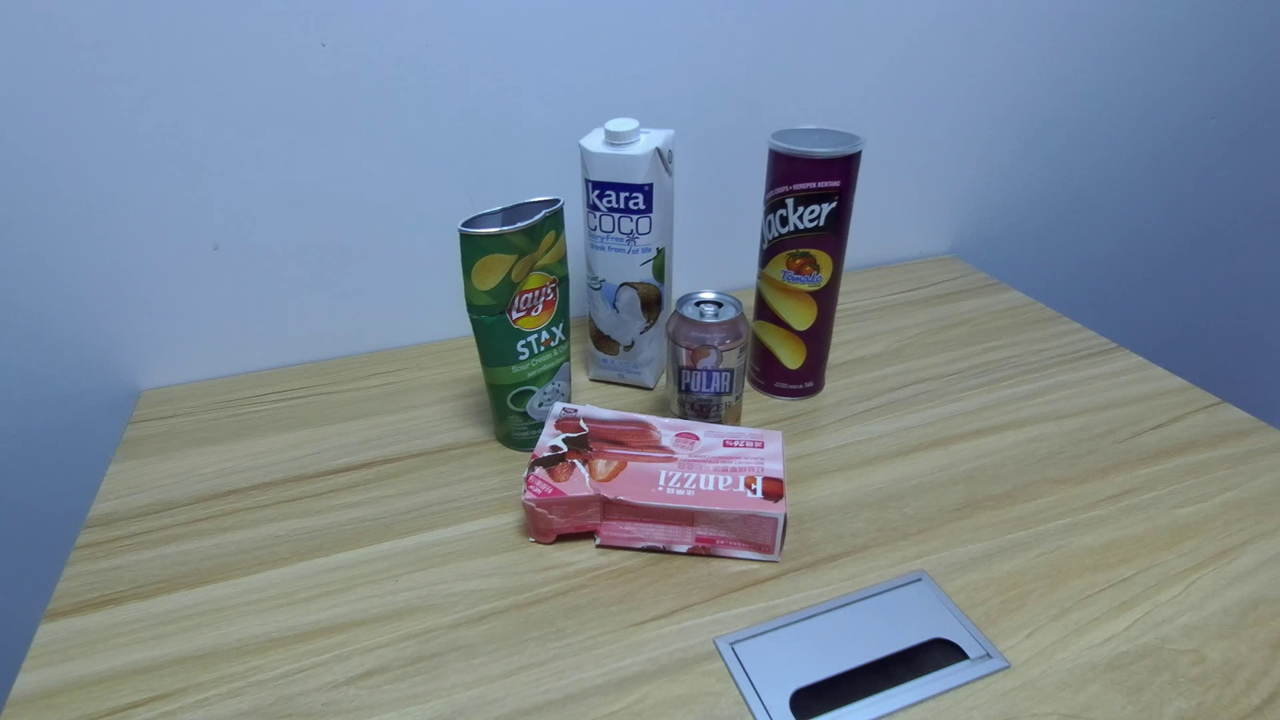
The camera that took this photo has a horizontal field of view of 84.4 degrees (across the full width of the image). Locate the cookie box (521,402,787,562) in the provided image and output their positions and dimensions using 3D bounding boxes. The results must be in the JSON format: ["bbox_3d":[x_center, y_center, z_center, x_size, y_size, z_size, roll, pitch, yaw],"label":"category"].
[{"bbox_3d":[0.015,0.087,0.528,0.186,0.059,0.105,3,35,5],"label":"cookie box"}]

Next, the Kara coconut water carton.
[{"bbox_3d":[-0.010,-0.095,0.646,0.077,0.245,0.075,9,31,16],"label":"Kara coconut water carton"}]

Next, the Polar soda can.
[{"bbox_3d":[0.057,0.007,0.595,0.067,0.126,0.067,0,33,1],"label":"Polar soda can"}]

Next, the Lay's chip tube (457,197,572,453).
[{"bbox_3d":[-0.094,-0.025,0.578,0.069,0.200,0.075,2,32,4],"label":"Lay's chip tube"}]

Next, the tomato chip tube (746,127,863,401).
[{"bbox_3d":[0.144,-0.081,0.635,0.078,0.234,0.078,0,31,0],"label":"tomato chip tube"}]
